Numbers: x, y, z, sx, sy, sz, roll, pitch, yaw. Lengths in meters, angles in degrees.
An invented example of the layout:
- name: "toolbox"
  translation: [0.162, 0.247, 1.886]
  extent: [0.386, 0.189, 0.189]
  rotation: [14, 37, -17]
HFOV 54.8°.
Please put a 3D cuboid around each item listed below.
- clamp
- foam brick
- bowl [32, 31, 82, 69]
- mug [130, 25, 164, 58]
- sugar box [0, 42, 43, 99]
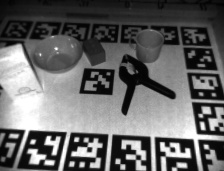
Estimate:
- name: "clamp"
  translation: [0.069, -0.034, 0.671]
  extent: [0.166, 0.037, 0.201]
  rotation: [-18, 60, -8]
- name: "foam brick"
  translation: [-0.060, -0.124, 0.734]
  extent: [0.053, 0.051, 0.077]
  rotation: [-21, 61, -11]
- name: "bowl"
  translation: [-0.179, -0.110, 0.716]
  extent: [0.162, 0.055, 0.161]
  rotation: [1, 58, 0]
- name: "mug"
  translation: [0.110, -0.150, 0.722]
  extent: [0.116, 0.082, 0.093]
  rotation: [27, 62, 13]
- name: "sugar box"
  translation: [-0.264, -0.034, 0.597]
  extent: [0.093, 0.177, 0.045]
  rotation: [-19, 61, -11]
